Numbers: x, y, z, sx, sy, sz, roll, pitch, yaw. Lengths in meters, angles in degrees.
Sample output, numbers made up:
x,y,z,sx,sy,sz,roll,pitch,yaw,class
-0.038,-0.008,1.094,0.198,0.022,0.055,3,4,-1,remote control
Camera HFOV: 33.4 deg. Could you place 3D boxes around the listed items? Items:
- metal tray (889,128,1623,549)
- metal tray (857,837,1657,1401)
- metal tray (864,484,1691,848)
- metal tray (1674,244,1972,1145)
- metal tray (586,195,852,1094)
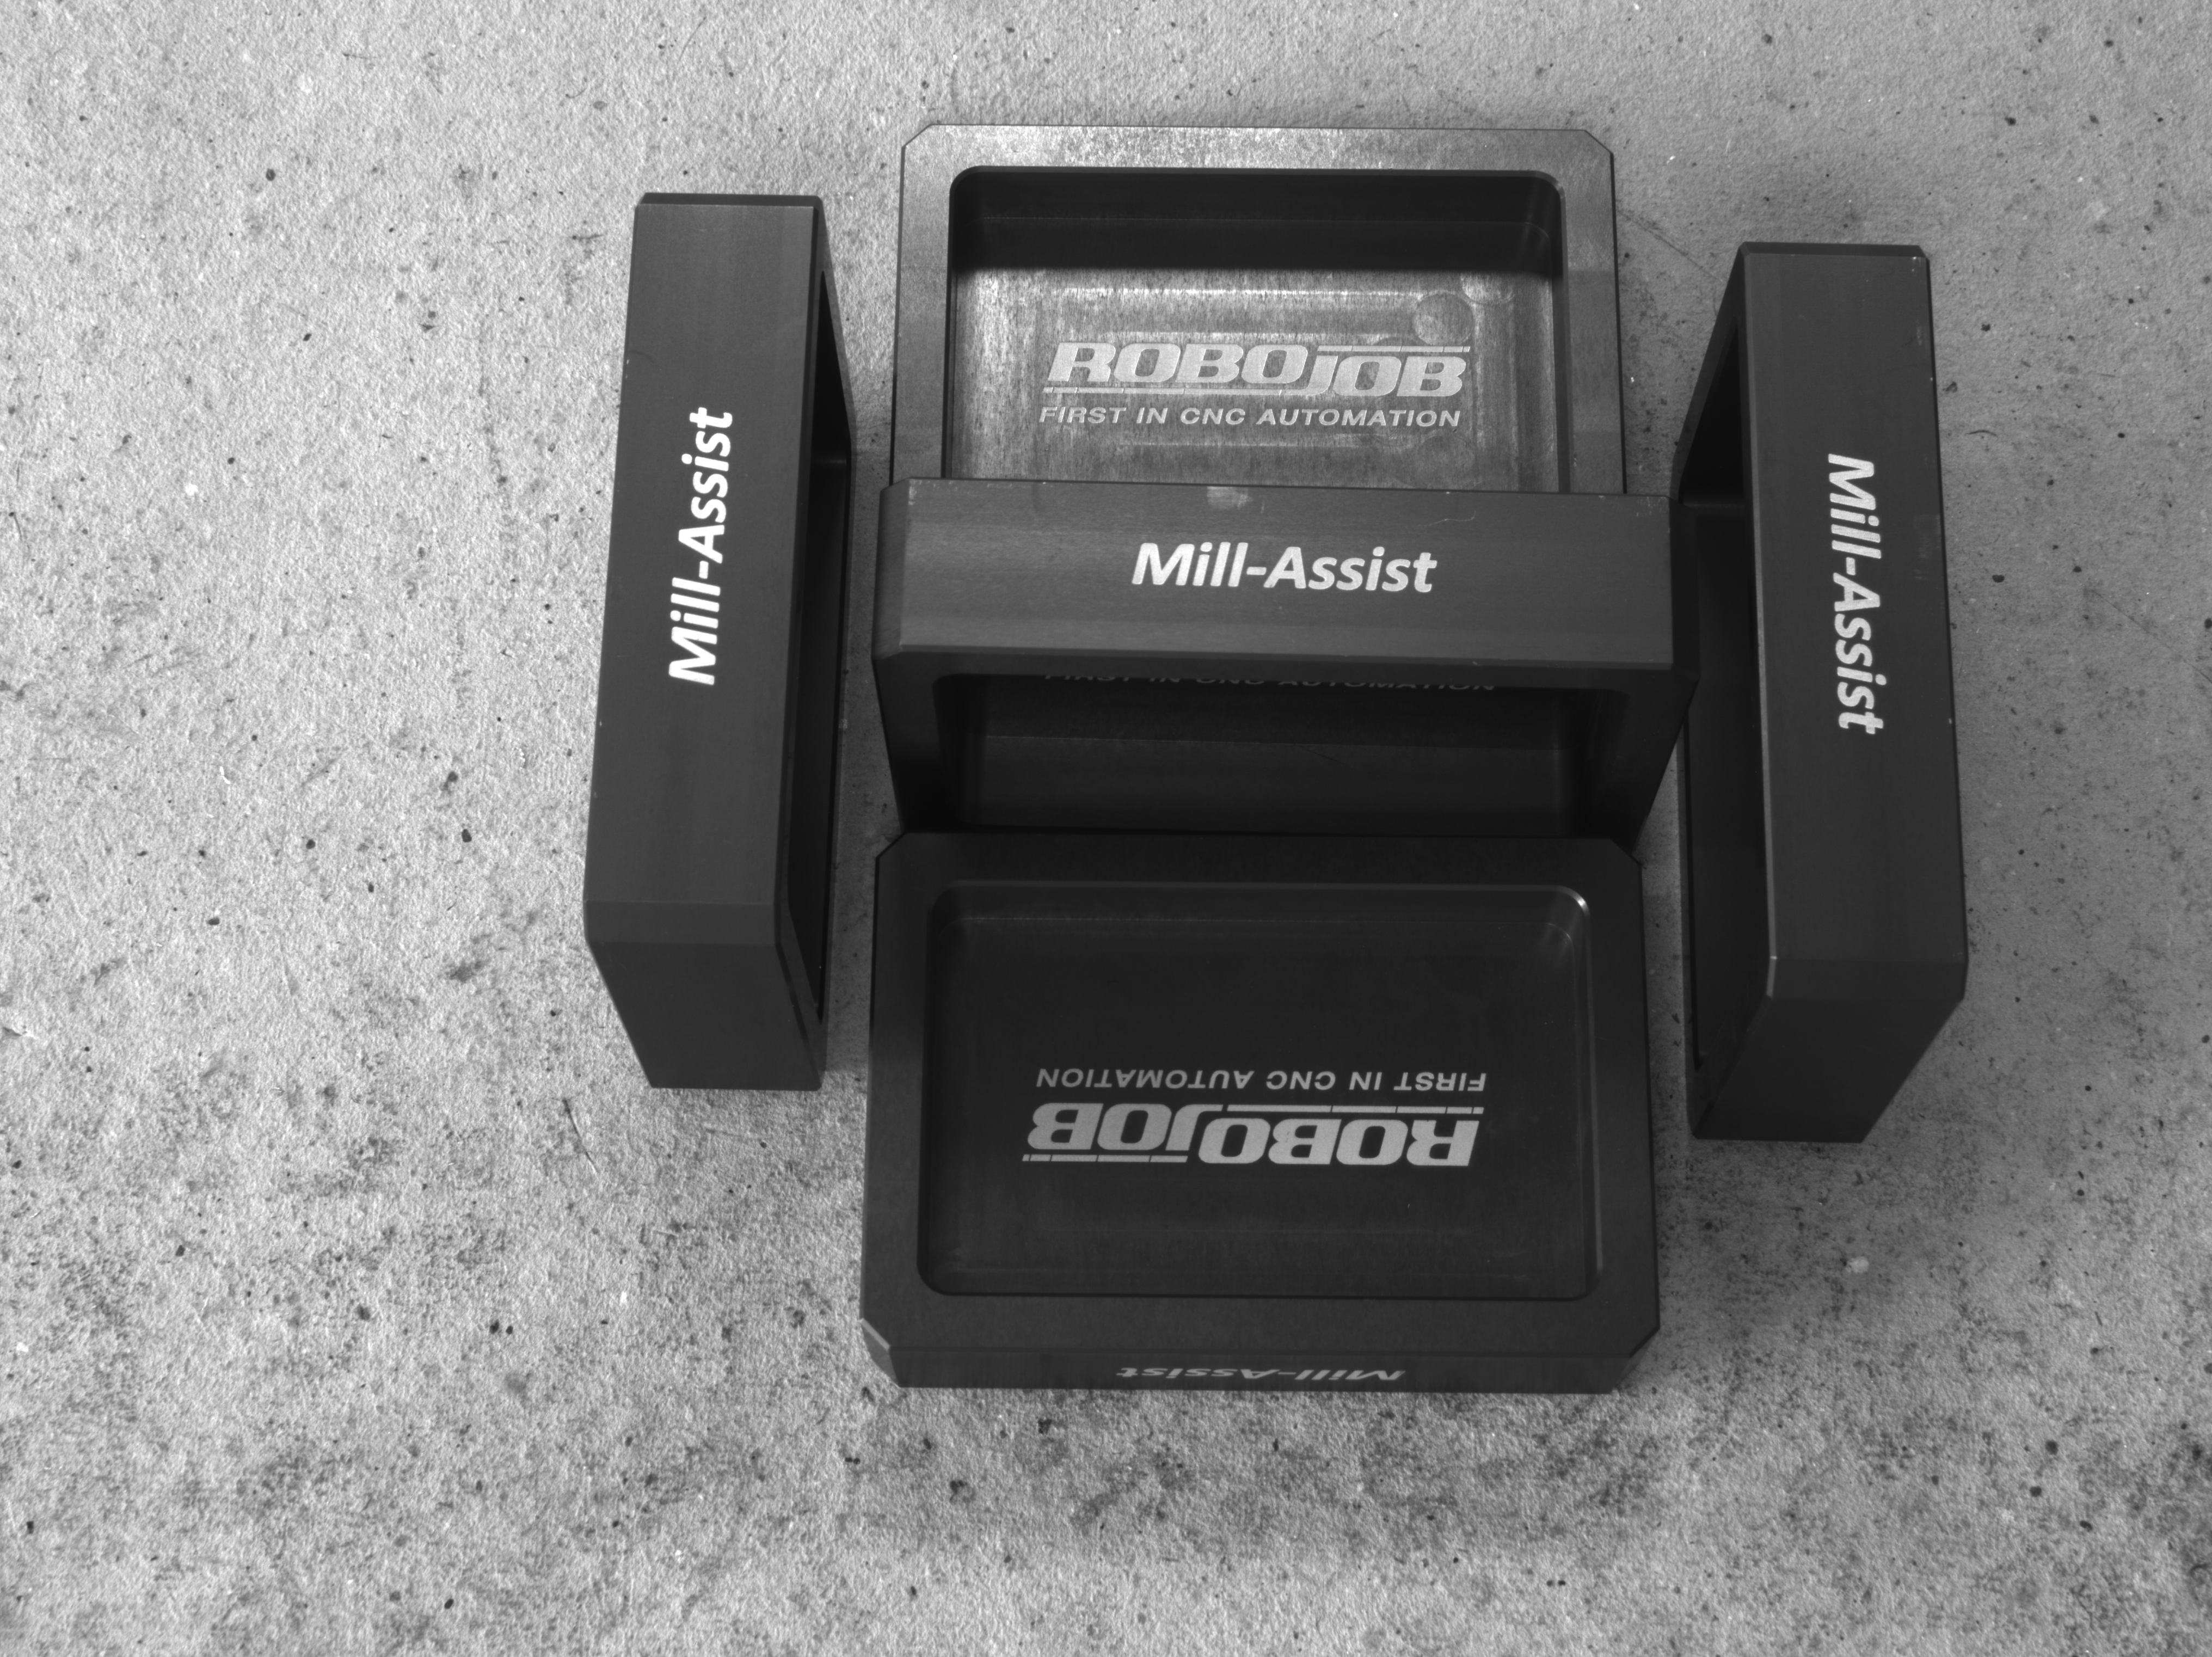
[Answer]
x,y,z,sx,sy,sz,roll,pitch,yaw,class
0.027,-0.080,0.673,0.130,0.030,0.090,0,73,0,metal tray
0.025,0.049,0.626,0.130,0.030,0.090,1,69,0,metal tray
0.027,-0.025,0.622,0.130,0.090,0.030,1,71,1,metal tray
0.118,-0.021,0.618,0.030,0.090,0.130,1,70,1,metal tray
-0.063,-0.029,0.622,0.030,0.090,0.130,1,70,0,metal tray
